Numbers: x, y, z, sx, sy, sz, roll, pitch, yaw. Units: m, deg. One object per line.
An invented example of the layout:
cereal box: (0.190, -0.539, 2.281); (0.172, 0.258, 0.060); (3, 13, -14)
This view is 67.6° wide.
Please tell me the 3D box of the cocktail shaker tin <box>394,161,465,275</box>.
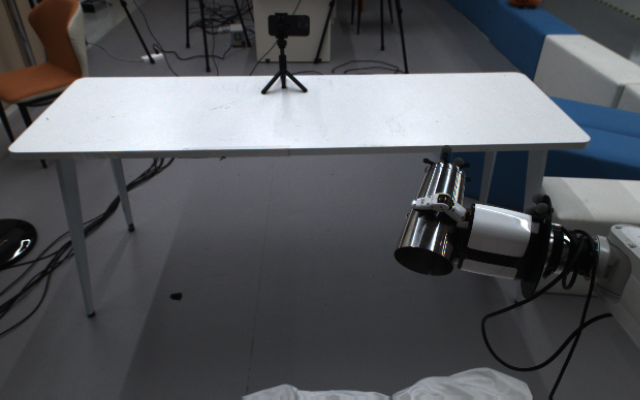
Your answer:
cocktail shaker tin: (0.183, 0.024, 0.776); (0.093, 0.093, 0.170); (14, 60, 17)
